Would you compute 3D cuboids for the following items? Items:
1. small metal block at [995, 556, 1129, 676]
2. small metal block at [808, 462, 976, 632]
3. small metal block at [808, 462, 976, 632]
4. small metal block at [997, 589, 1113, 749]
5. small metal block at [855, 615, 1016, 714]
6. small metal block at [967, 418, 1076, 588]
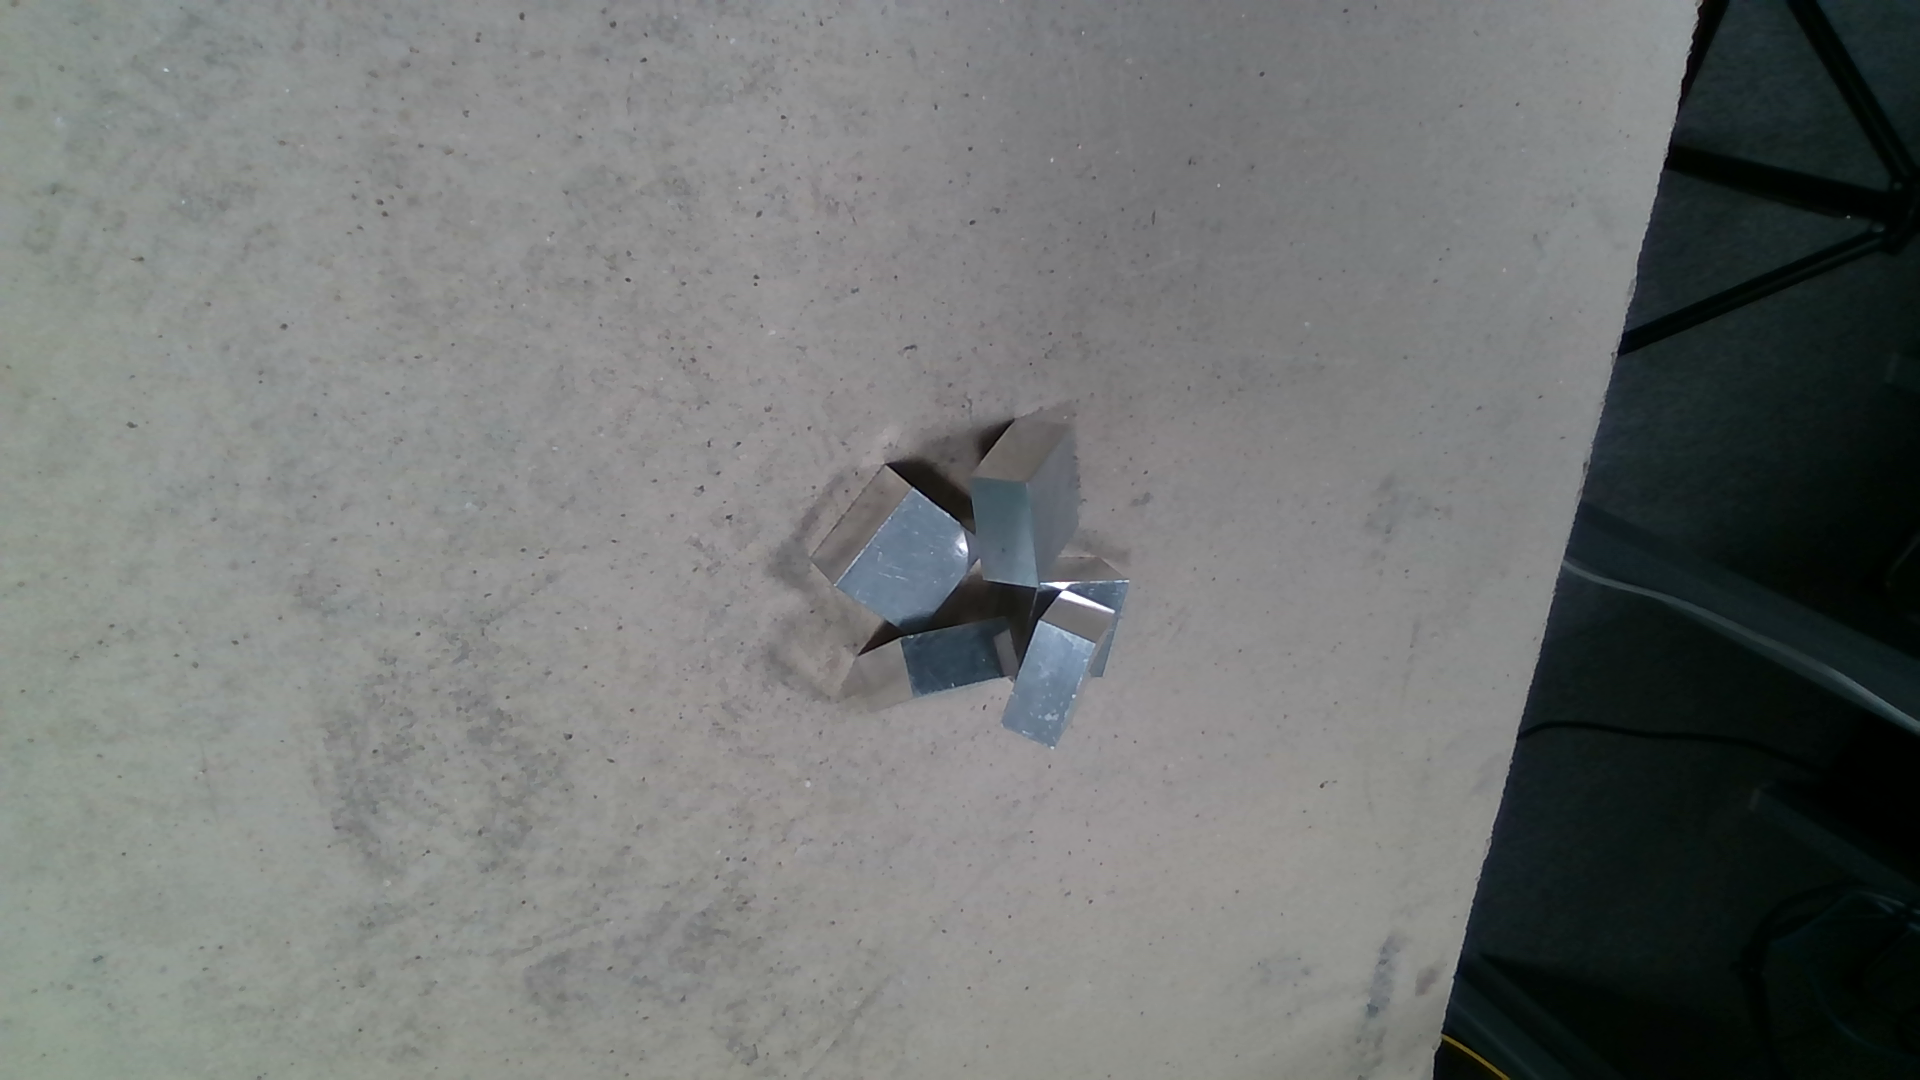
[{"bbox_3d":[0.044,0.035,0.627,0.050,0.025,0.050,-1,115,-31],"label":"small metal block"},{"bbox_3d":[-0.025,0.004,0.568,0.050,0.025,0.050,-52,129,2],"label":"small metal block"},{"bbox_3d":[-0.025,0.005,0.568,0.050,0.025,0.050,-51,129,2],"label":"small metal block"},{"bbox_3d":[0.042,0.054,0.586,0.050,0.025,0.050,-38,149,-70],"label":"small metal block"},{"bbox_3d":[-0.010,0.053,0.584,0.050,0.050,0.025,-10,81,-28],"label":"small metal block"},{"bbox_3d":[0.027,-0.016,0.573,0.050,0.025,0.050,-53,143,-49],"label":"small metal block"}]
